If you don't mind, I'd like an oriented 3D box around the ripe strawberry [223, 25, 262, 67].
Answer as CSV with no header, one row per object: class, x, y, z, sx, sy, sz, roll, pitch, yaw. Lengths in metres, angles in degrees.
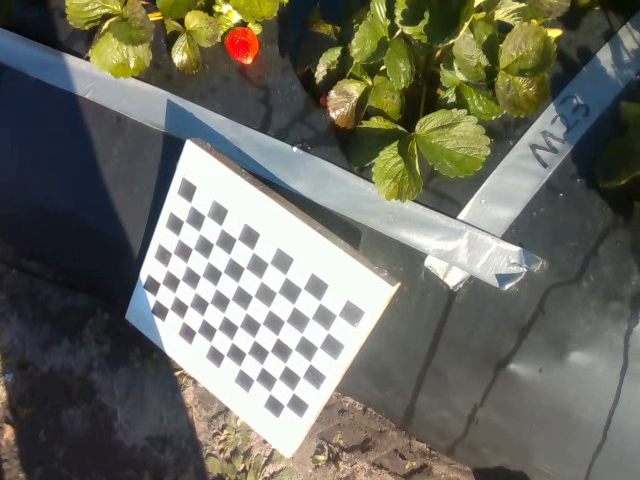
ripe strawberry,-0.093,-0.229,0.729,0.045,0.059,0.042,-32,-22,32
